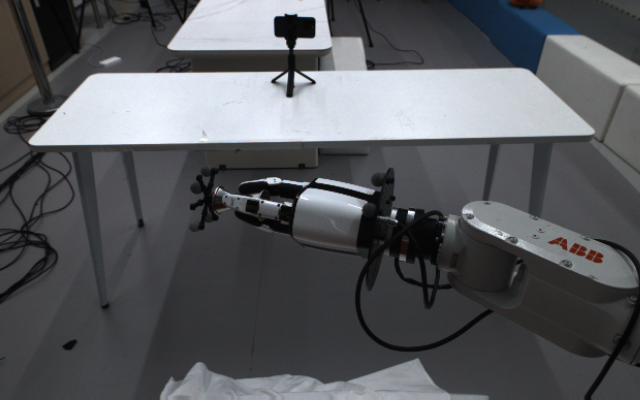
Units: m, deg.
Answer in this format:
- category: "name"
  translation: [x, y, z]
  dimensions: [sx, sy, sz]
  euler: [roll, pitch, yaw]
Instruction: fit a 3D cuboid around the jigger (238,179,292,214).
- category: "jigger"
  translation: [-0.102, 0.001, 0.664]
  dimensions: [0.071, 0.043, 0.043]
  euler: [6, 35, 14]
